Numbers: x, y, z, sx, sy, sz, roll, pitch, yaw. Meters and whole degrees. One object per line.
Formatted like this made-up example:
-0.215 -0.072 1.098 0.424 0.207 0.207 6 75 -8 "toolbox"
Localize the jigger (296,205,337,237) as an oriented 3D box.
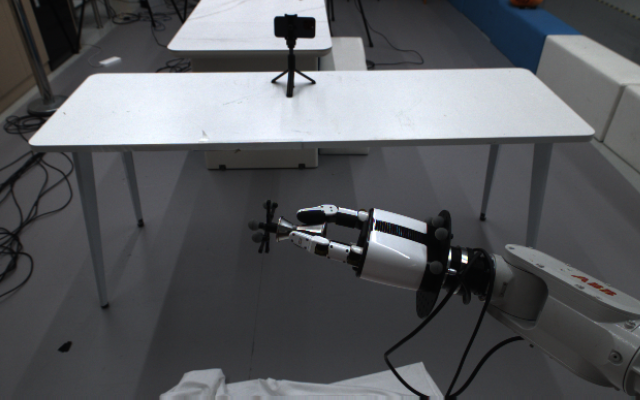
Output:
-0.019 0.042 0.713 0.071 0.043 0.043 7 35 7 "jigger"
